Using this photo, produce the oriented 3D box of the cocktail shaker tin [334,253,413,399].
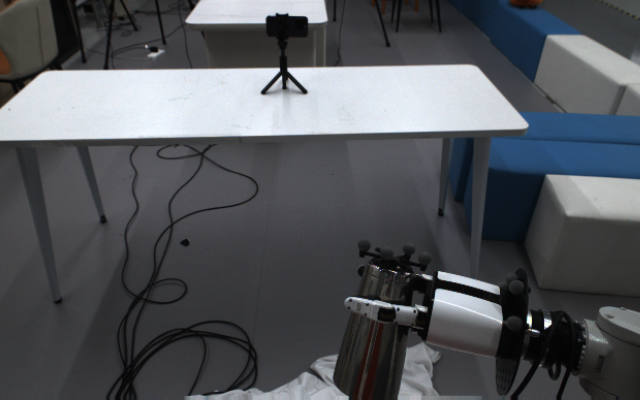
[{"bbox_3d":[0.081,0.165,0.648,0.093,0.170,0.093,10,9,-2],"label":"cocktail shaker tin"}]
